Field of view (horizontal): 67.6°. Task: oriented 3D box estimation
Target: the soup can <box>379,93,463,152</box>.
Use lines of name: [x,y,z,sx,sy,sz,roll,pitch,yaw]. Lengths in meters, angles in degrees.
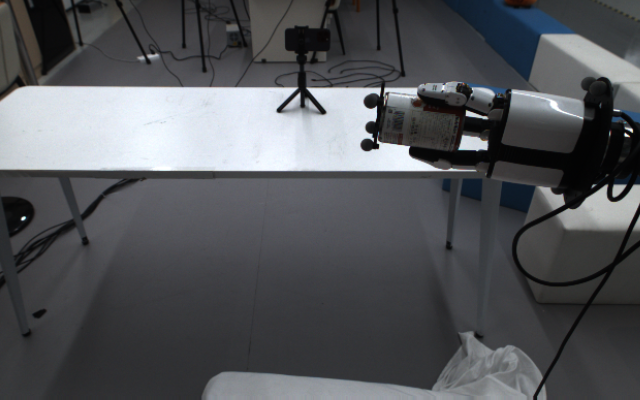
soup can: [0.134,-0.103,0.631,0.101,0.067,0.067,9,35,9]
